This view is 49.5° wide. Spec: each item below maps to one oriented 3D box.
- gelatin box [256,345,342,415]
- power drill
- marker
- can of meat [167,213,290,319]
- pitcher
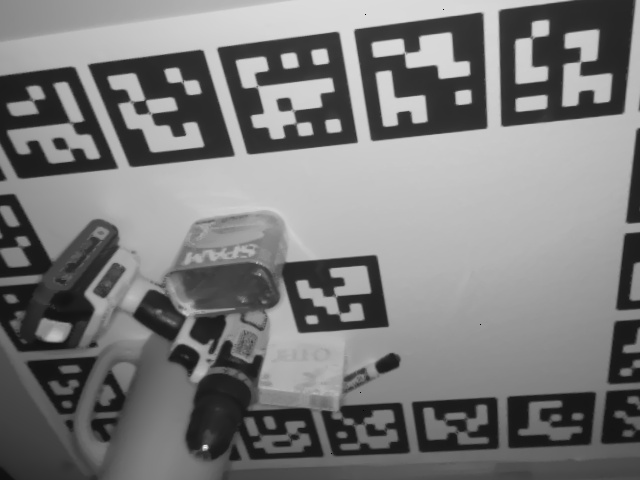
[{"bbox_3d":[-0.024,0.148,0.745,0.089,0.074,0.030,4,121,4],"label":"gelatin box"},{"bbox_3d":[-0.141,0.108,0.660,0.187,0.186,0.056,27,121,-6],"label":"power drill"},{"bbox_3d":[0.041,0.173,0.787,0.119,0.020,0.020,-30,116,21],"label":"marker"},{"bbox_3d":[-0.081,0.023,0.653,0.101,0.084,0.057,-6,126,10],"label":"can of meat"},{"bbox_3d":[-0.172,0.209,0.704,0.190,0.244,0.131,18,121,-15],"label":"pitcher"}]
